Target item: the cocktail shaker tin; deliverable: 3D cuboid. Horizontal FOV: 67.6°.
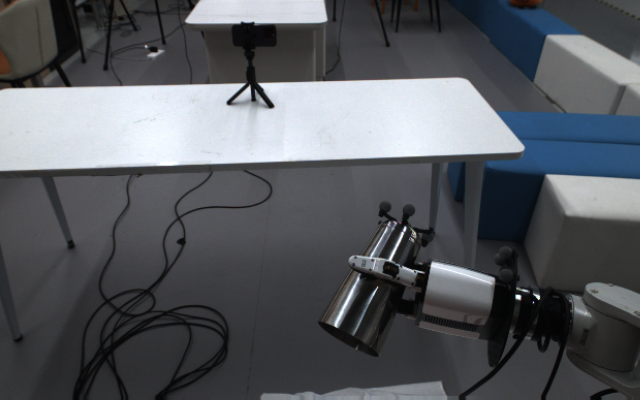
[{"bbox_3d":[0.079,0.112,0.665,0.093,0.093,0.170,19,66,23],"label":"cocktail shaker tin"}]
